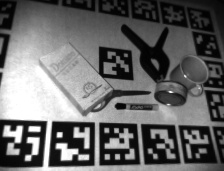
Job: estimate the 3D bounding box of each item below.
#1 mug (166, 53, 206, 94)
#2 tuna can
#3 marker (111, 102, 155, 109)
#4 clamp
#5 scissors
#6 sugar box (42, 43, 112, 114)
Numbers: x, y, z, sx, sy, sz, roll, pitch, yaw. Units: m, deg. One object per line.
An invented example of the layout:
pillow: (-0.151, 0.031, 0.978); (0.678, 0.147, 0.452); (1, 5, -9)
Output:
mug: (0.218, -0.027, 0.634); (0.094, 0.081, 0.116); (-23, 74, -24)
tuna can: (0.163, 0.017, 0.595); (0.086, 0.085, 0.034); (20, 64, -8)
marker: (0.056, 0.053, 0.584); (0.122, 0.019, 0.019); (1, 70, -16)
clamp: (0.121, -0.107, 0.669); (0.167, 0.036, 0.202); (-6, 72, -19)
scissors: (0.012, 0.011, 0.585); (0.204, 0.016, 0.087); (-6, 67, -21)
sugar box: (-0.088, -0.024, 0.550); (0.093, 0.045, 0.175); (-34, 76, -26)
